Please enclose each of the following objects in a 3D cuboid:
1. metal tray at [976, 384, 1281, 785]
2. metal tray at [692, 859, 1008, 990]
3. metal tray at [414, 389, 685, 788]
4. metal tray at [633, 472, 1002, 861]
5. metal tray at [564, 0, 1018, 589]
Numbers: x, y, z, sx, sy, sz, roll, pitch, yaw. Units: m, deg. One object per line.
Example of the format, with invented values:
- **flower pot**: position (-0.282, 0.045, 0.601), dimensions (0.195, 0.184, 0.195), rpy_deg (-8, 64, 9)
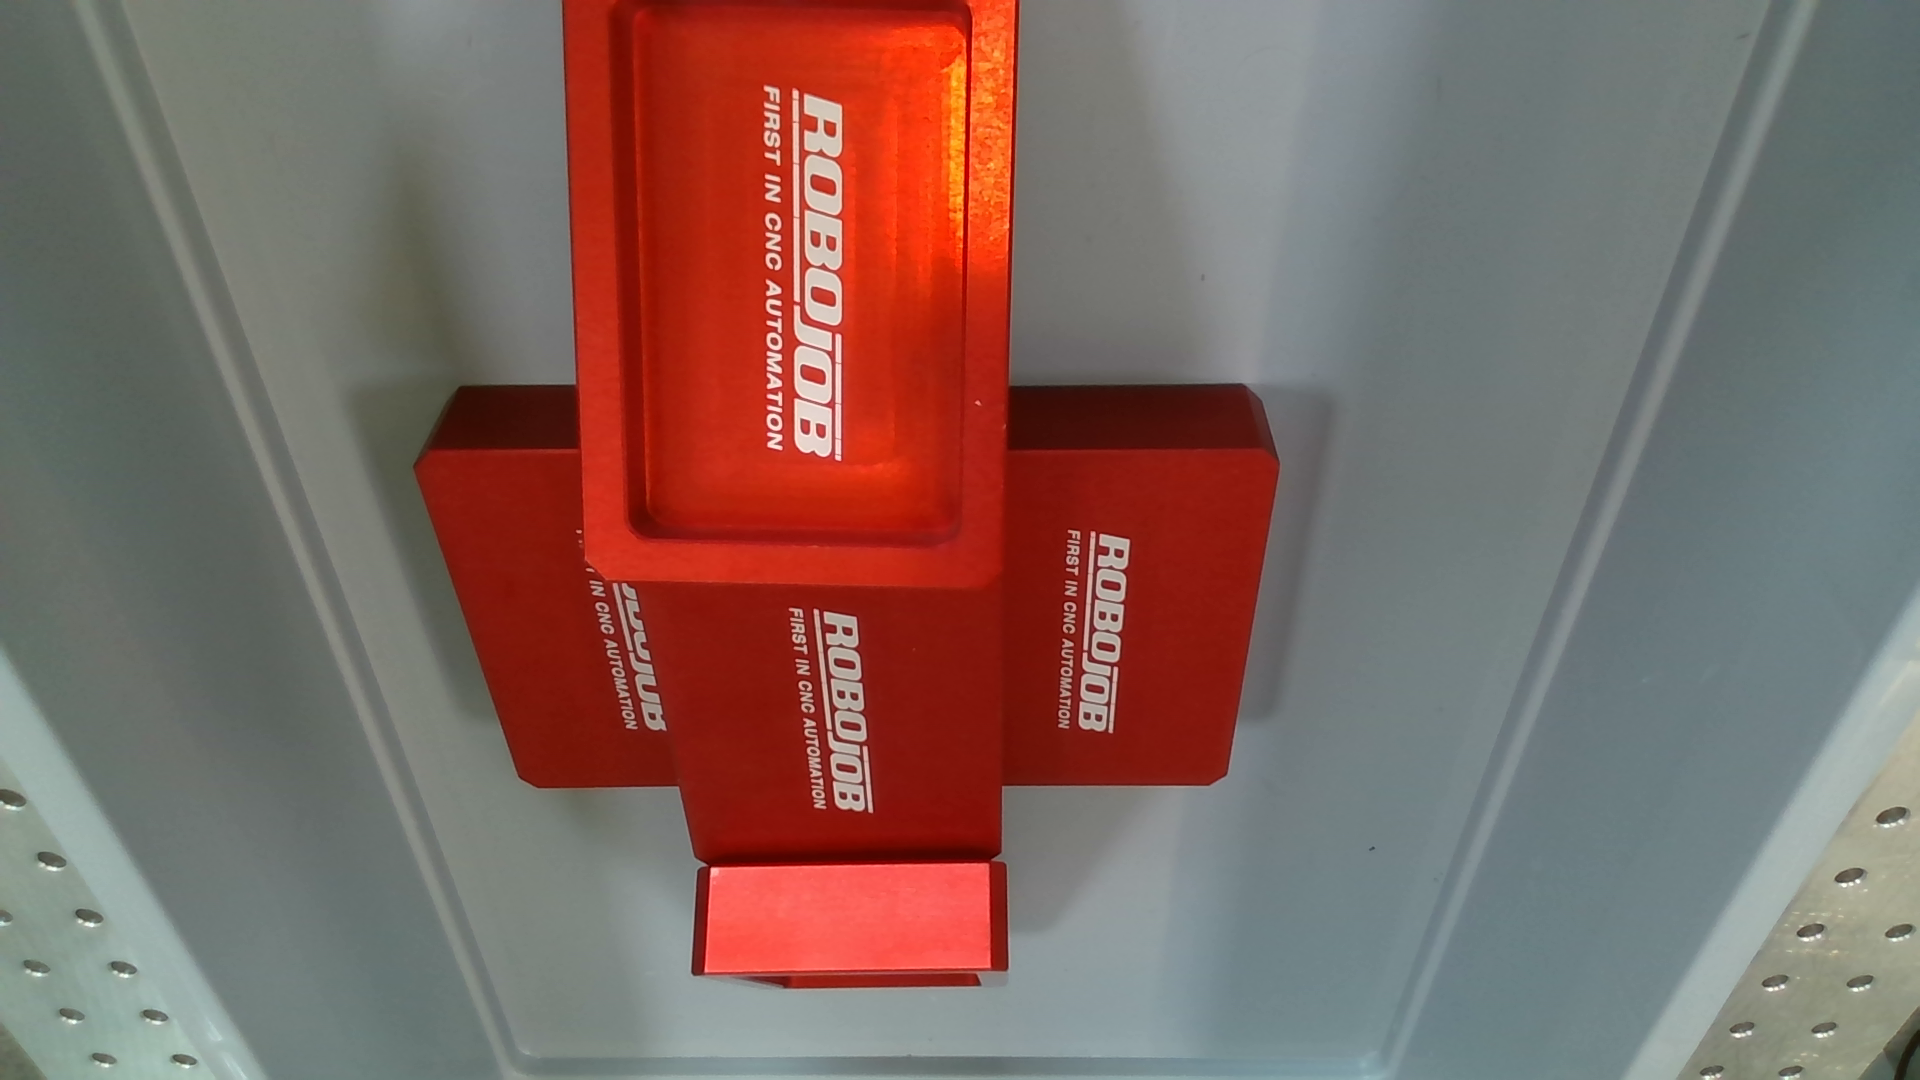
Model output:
- **metal tray**: position (0.037, 0.018, 0.398), dimensions (0.090, 0.030, 0.130), rpy_deg (0, 131, 0)
- **metal tray**: position (-0.030, 0.129, 0.453), dimensions (0.090, 0.030, 0.130), rpy_deg (-1, 159, 2)
- **metal tray**: position (-0.093, 0.018, 0.398), dimensions (0.090, 0.030, 0.130), rpy_deg (0, 131, 0)
- **metal tray**: position (-0.034, 0.037, 0.376), dimensions (0.090, 0.030, 0.130), rpy_deg (-1, 131, 1)
- **metal tray**: position (-0.035, -0.057, 0.297), dimensions (0.090, 0.030, 0.130), rpy_deg (1, 101, 0)
